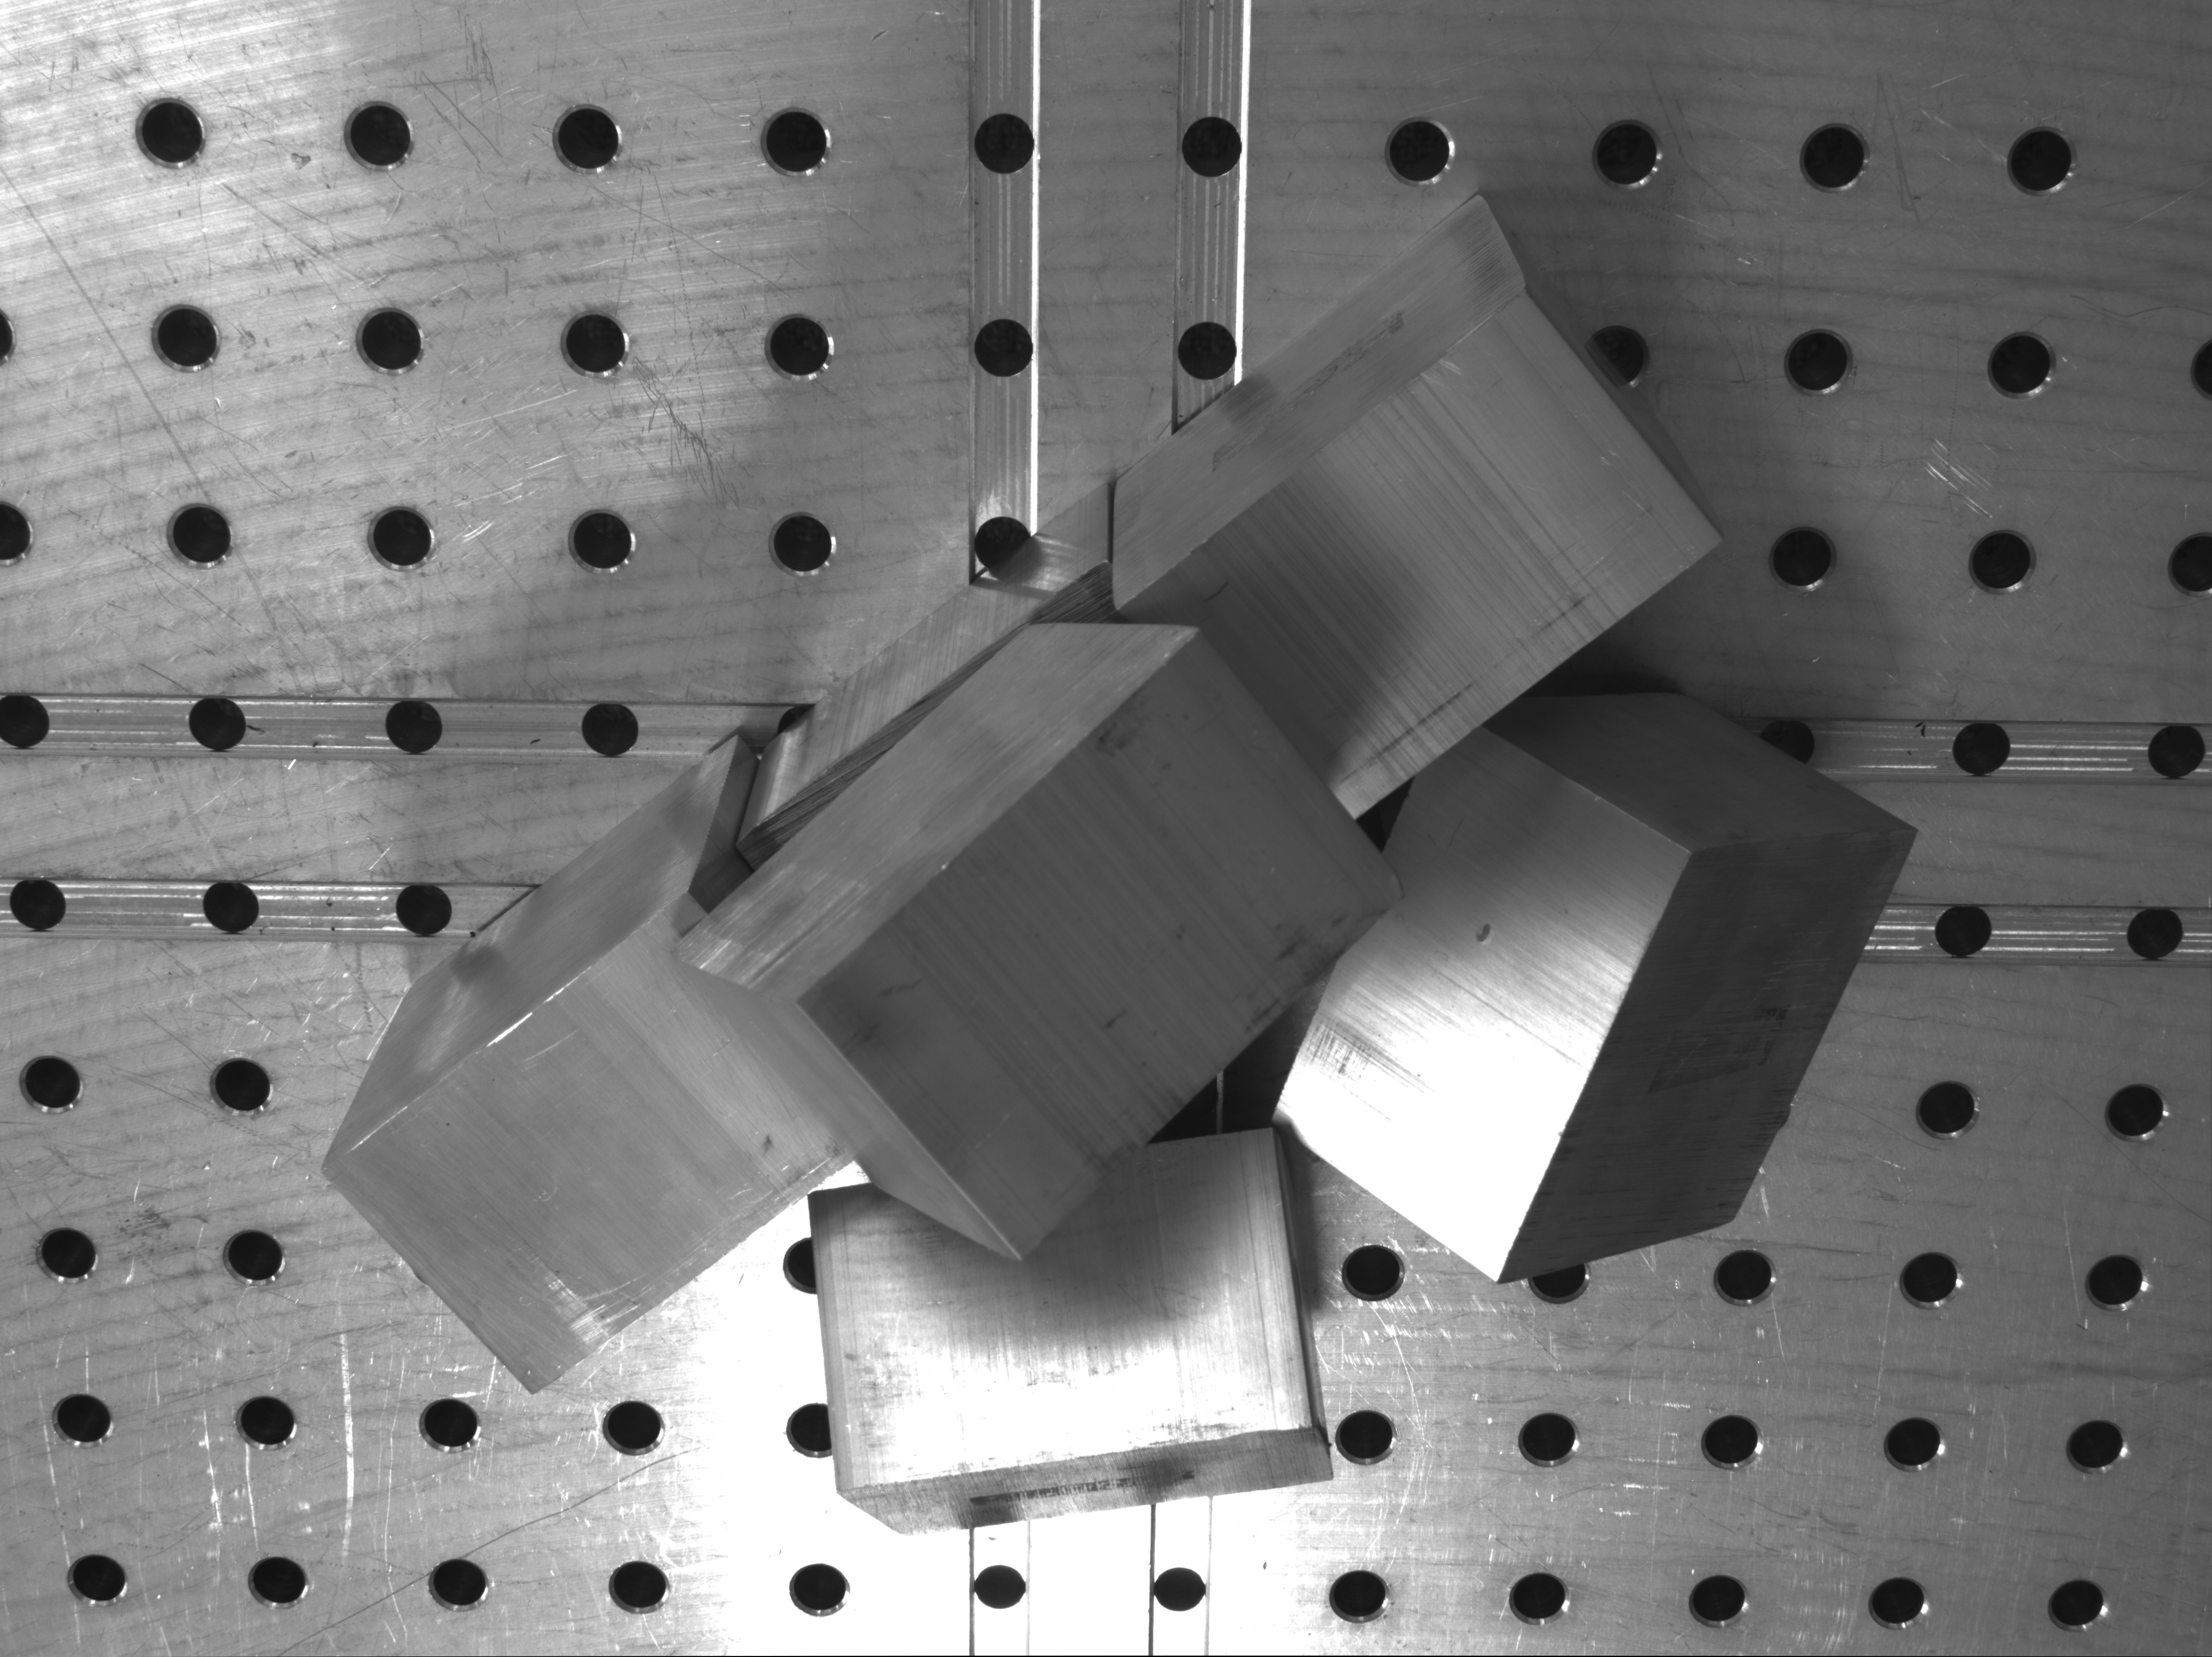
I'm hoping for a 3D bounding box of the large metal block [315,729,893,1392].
[{"bbox_3d":[-0.081,0.038,0.630,0.080,0.080,0.050,-37,106,12],"label":"large metal block"}]

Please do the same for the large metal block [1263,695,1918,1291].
[{"bbox_3d":[0.082,0.025,0.619,0.050,0.080,0.080,34,112,32],"label":"large metal block"}]

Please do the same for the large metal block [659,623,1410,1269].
[{"bbox_3d":[-0.013,0.014,0.556,0.080,0.080,0.050,-43,106,-12],"label":"large metal block"}]

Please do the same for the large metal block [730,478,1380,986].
[{"bbox_3d":[-0.006,0.000,0.635,0.080,0.050,0.080,-37,106,13],"label":"large metal block"}]

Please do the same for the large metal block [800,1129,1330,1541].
[{"bbox_3d":[-0.005,0.090,0.643,0.080,0.080,0.050,-8,73,3],"label":"large metal block"}]

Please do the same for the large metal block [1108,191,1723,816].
[{"bbox_3d":[0.047,-0.052,0.599,0.080,0.080,0.050,-38,106,12],"label":"large metal block"}]
